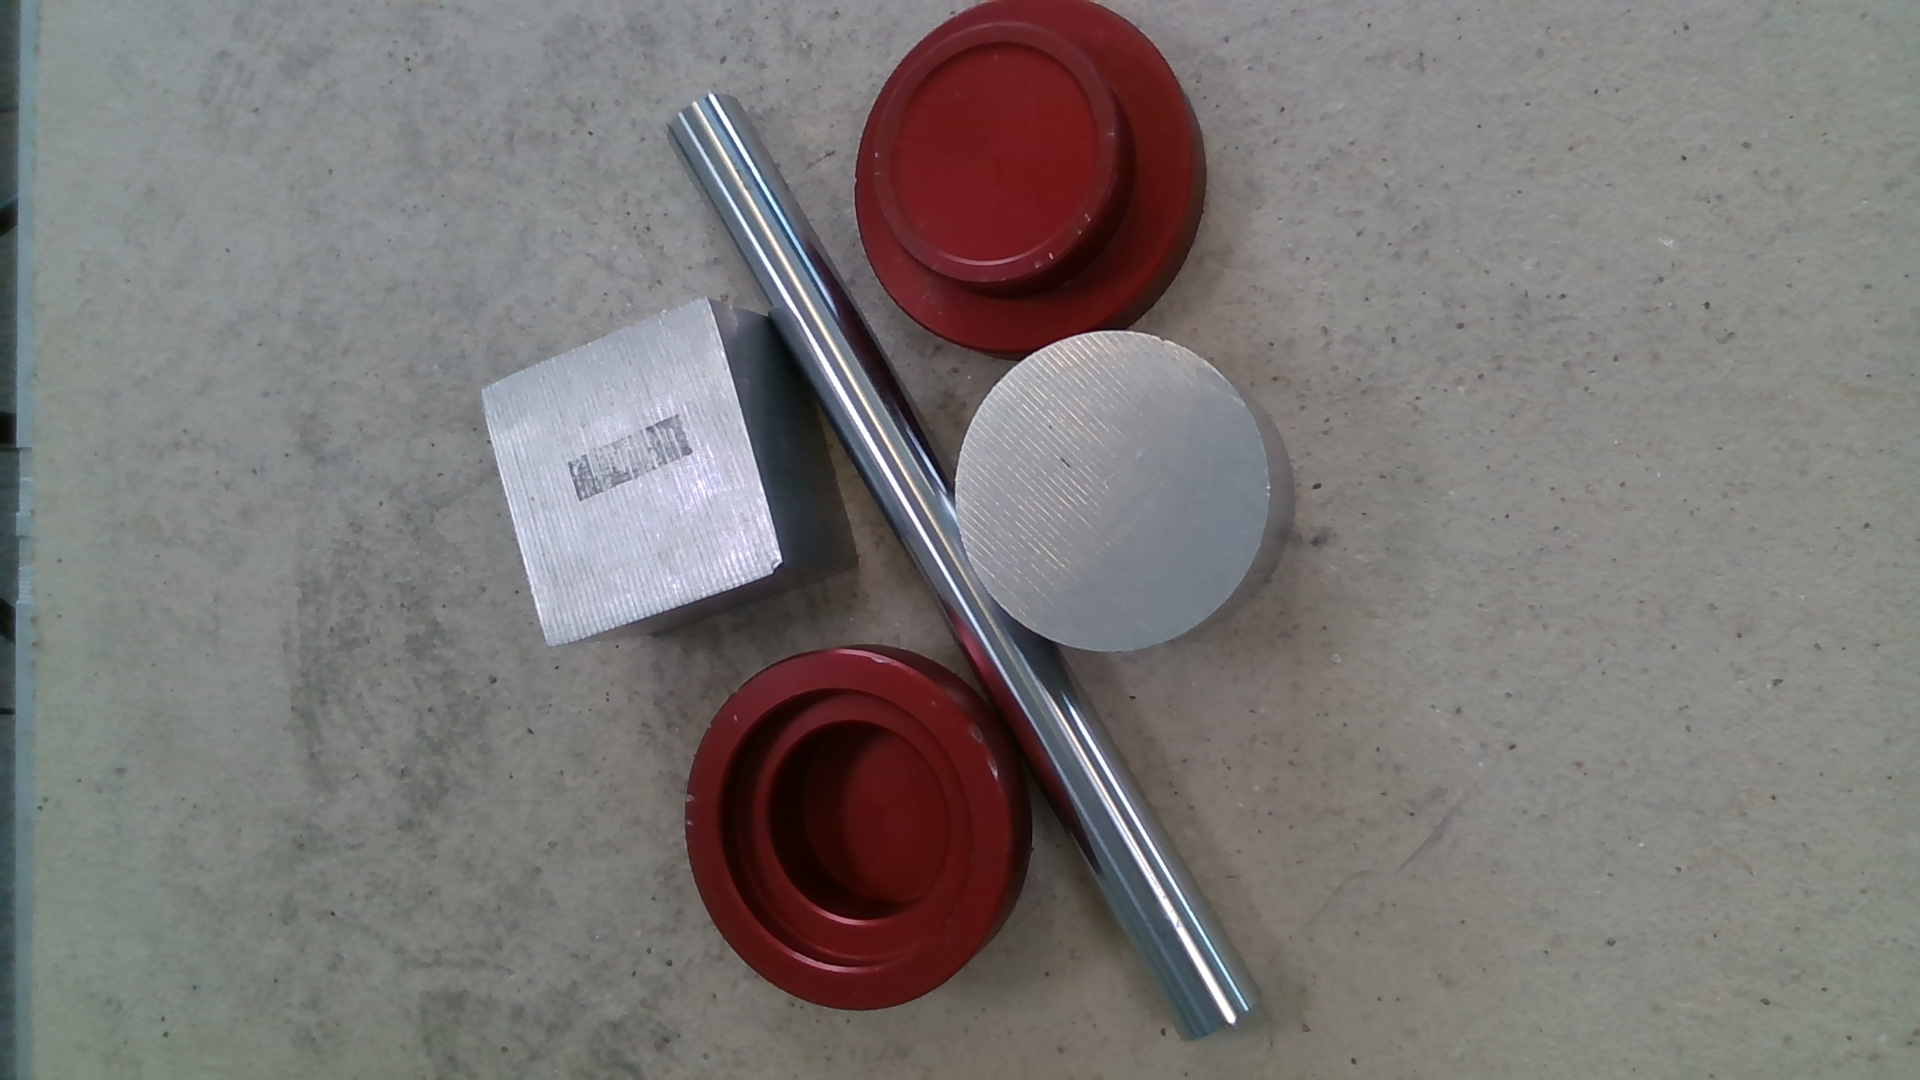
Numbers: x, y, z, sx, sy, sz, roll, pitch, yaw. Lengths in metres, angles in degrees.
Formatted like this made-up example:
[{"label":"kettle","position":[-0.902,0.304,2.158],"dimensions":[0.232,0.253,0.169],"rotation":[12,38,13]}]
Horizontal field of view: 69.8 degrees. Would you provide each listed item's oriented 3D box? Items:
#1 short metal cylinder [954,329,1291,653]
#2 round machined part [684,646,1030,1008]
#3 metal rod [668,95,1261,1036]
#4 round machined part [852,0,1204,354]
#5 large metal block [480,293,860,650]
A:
[{"label":"short metal cylinder","position":[0.045,-0.012,0.364],"dimensions":[0.080,0.050,0.080],"rotation":[0,90,20]},{"label":"round machined part","position":[-0.026,0.079,0.395],"dimensions":[0.098,0.042,0.098],"rotation":[0,90,20]},{"label":"metal rod","position":[-0.004,-0.001,0.397],"dimensions":[0.025,0.025,0.300],"rotation":[-33,80,17]},{"label":"round machined part","position":[0.015,-0.101,0.379],"dimensions":[0.098,0.042,0.098],"rotation":[0,90,20]},{"label":"large metal block","position":[-0.086,-0.018,0.413],"dimensions":[0.080,0.050,0.080],"rotation":[-18,84,19]}]
